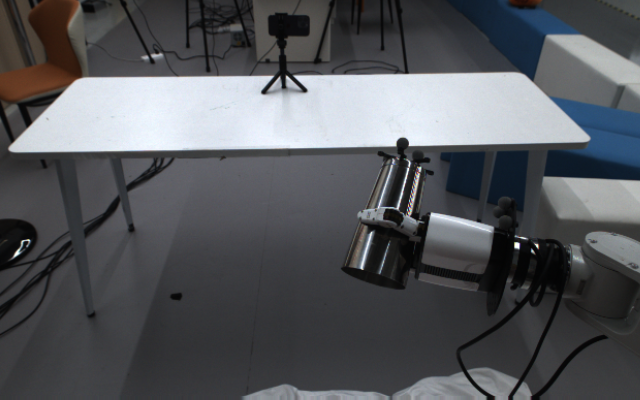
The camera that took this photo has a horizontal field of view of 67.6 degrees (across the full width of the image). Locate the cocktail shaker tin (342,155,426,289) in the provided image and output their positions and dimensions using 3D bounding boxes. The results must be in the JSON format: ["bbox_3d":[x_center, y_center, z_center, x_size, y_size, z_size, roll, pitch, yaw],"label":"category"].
[{"bbox_3d":[0.098,0.031,0.685,0.093,0.093,0.170,14,73,17],"label":"cocktail shaker tin"}]
